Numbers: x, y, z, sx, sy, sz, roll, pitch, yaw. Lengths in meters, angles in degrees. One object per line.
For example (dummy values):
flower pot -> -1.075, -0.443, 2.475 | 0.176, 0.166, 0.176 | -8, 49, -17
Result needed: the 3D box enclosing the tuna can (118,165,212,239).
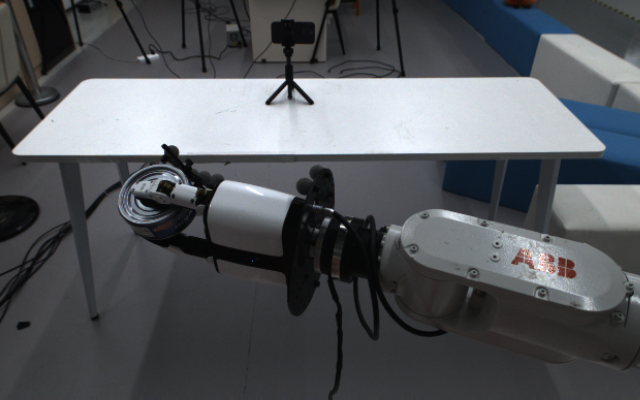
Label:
tuna can -> -0.183, 0.007, 0.557 | 0.085, 0.034, 0.085 | -4, 58, 6
